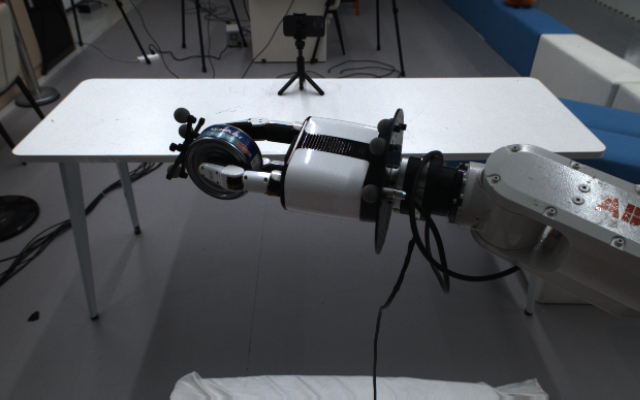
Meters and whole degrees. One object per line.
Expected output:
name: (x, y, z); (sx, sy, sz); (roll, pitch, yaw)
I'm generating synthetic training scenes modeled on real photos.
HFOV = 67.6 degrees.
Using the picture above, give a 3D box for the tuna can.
tuna can: (-0.109, -0.039, 0.562); (0.085, 0.085, 0.034); (9, 36, 10)
